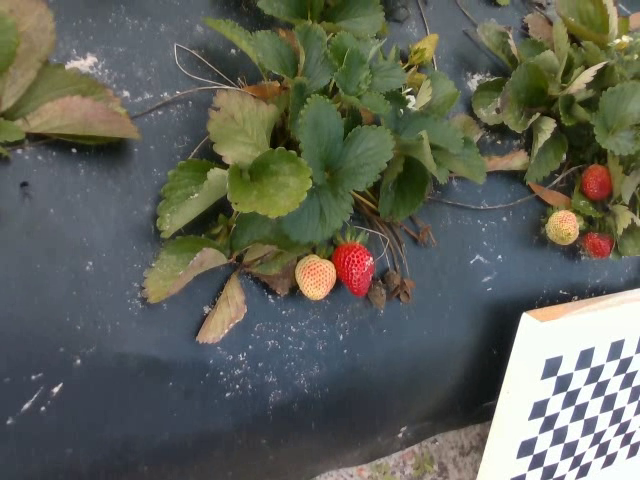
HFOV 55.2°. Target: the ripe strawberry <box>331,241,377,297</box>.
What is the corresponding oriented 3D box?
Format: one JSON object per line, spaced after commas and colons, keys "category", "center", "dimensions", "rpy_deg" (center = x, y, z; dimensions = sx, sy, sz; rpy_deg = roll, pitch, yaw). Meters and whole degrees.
{"category": "ripe strawberry", "center": [0.023, 0.020, 0.395], "dimensions": [0.033, 0.041, 0.034], "rpy_deg": [-38, -49, 27]}
